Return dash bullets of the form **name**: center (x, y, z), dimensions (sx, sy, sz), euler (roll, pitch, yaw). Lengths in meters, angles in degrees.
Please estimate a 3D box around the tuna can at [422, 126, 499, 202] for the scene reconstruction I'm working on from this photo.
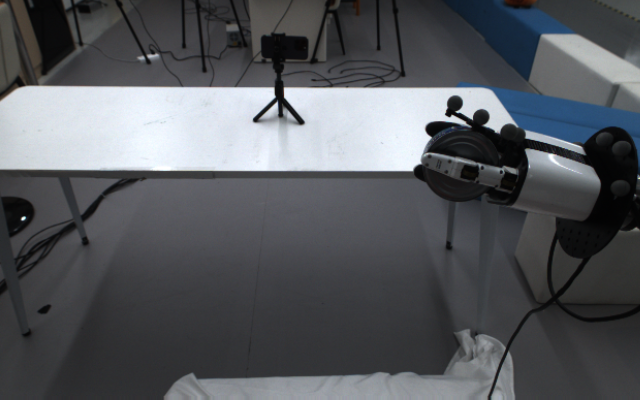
- **tuna can**: center (0.167, -0.046, 0.572), dimensions (0.085, 0.085, 0.034), euler (7, 17, 7)
